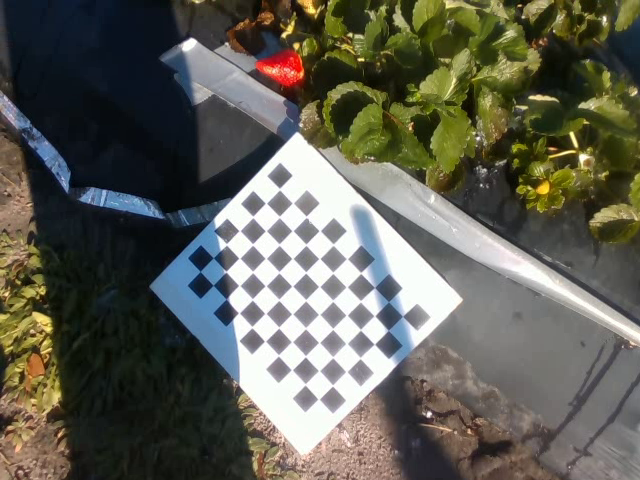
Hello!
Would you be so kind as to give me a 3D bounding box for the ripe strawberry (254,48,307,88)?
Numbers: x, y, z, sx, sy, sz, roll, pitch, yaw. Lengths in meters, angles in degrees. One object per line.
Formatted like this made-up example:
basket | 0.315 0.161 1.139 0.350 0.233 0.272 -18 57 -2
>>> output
ripe strawberry | -0.058 -0.223 0.764 0.065 0.062 0.057 -12 -1 -38
